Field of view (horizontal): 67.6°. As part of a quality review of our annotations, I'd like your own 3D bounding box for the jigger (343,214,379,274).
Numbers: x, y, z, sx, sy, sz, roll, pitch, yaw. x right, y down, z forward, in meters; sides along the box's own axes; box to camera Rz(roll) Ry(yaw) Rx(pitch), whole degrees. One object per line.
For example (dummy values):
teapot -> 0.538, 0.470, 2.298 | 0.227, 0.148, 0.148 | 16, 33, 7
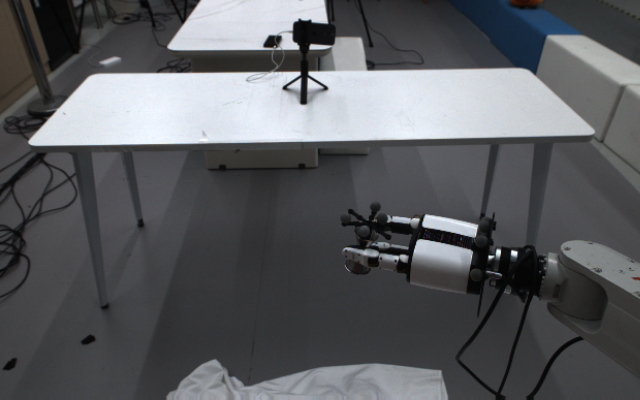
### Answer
jigger -> 0.066, 0.079, 0.776 | 0.043, 0.071, 0.043 | 9, 30, -6
